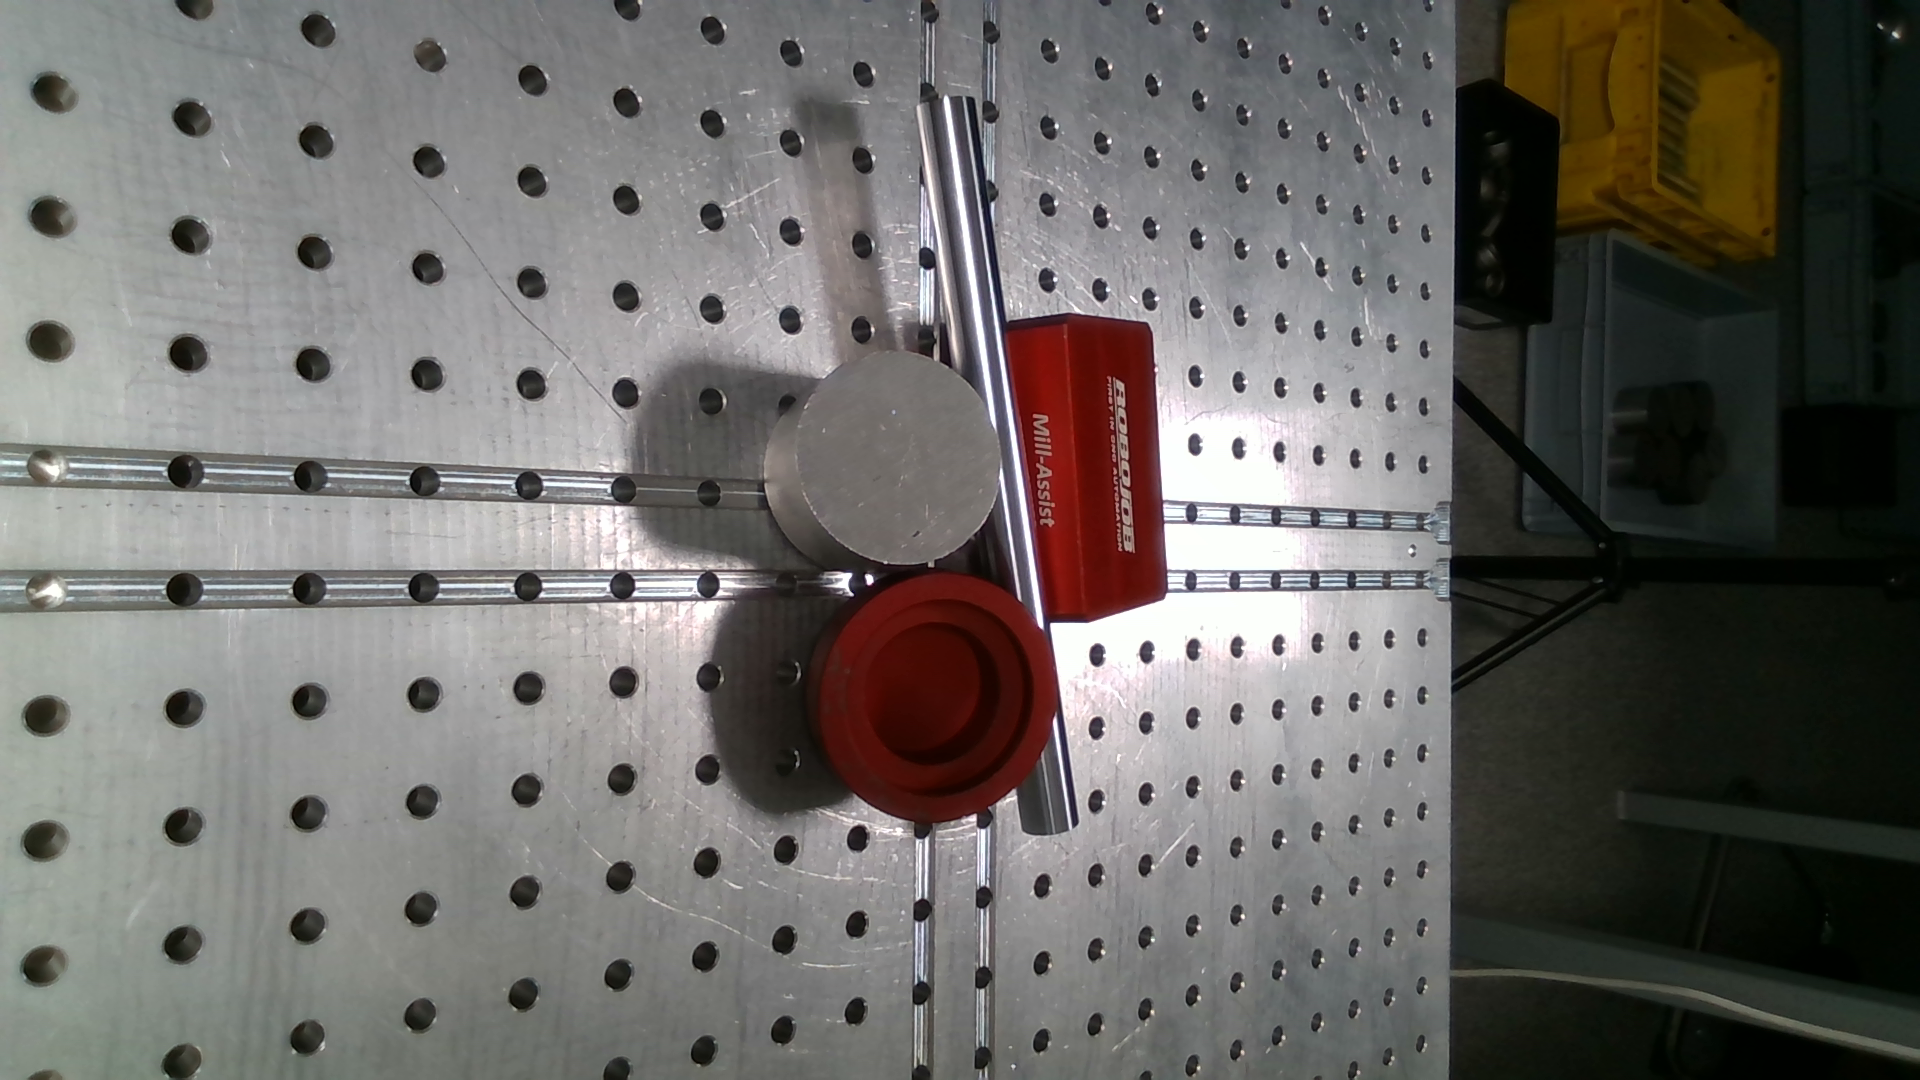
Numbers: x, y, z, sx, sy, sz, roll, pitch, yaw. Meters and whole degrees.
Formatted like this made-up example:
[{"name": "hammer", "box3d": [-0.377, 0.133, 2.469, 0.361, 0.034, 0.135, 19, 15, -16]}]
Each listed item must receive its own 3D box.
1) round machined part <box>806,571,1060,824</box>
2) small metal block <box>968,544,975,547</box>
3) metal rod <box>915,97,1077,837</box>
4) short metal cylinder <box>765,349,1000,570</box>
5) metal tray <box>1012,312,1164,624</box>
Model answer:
[{"name": "round machined part", "box3d": [-0.013, 0.060, 0.549, 0.098, 0.042, 0.098, -1, 94, -18]}, {"name": "small metal block", "box3d": [-0.012, -0.028, 0.587, 0.050, 0.025, 0.050, 23, 76, -38]}, {"name": "metal rod", "box3d": [0.016, -0.026, 0.566, 0.025, 0.025, 0.300, -15, 99, -39]}, {"name": "short metal cylinder", "box3d": [-0.031, -0.028, 0.528, 0.080, 0.050, 0.080, 2, 84, -22]}, {"name": "metal tray", "box3d": [0.059, -0.033, 0.614, 0.090, 0.030, 0.130, -10, 97, -59]}]
